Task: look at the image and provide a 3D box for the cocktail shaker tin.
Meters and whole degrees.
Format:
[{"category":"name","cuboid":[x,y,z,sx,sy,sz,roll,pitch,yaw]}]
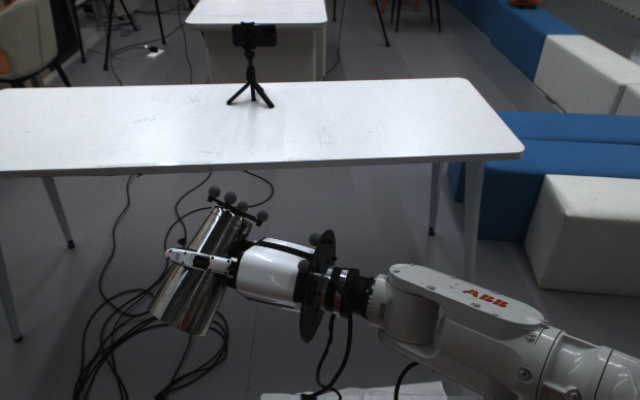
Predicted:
[{"category":"cocktail shaker tin","cuboid":[-0.165,0.095,0.701,0.093,0.093,0.170,22,81,26]}]
